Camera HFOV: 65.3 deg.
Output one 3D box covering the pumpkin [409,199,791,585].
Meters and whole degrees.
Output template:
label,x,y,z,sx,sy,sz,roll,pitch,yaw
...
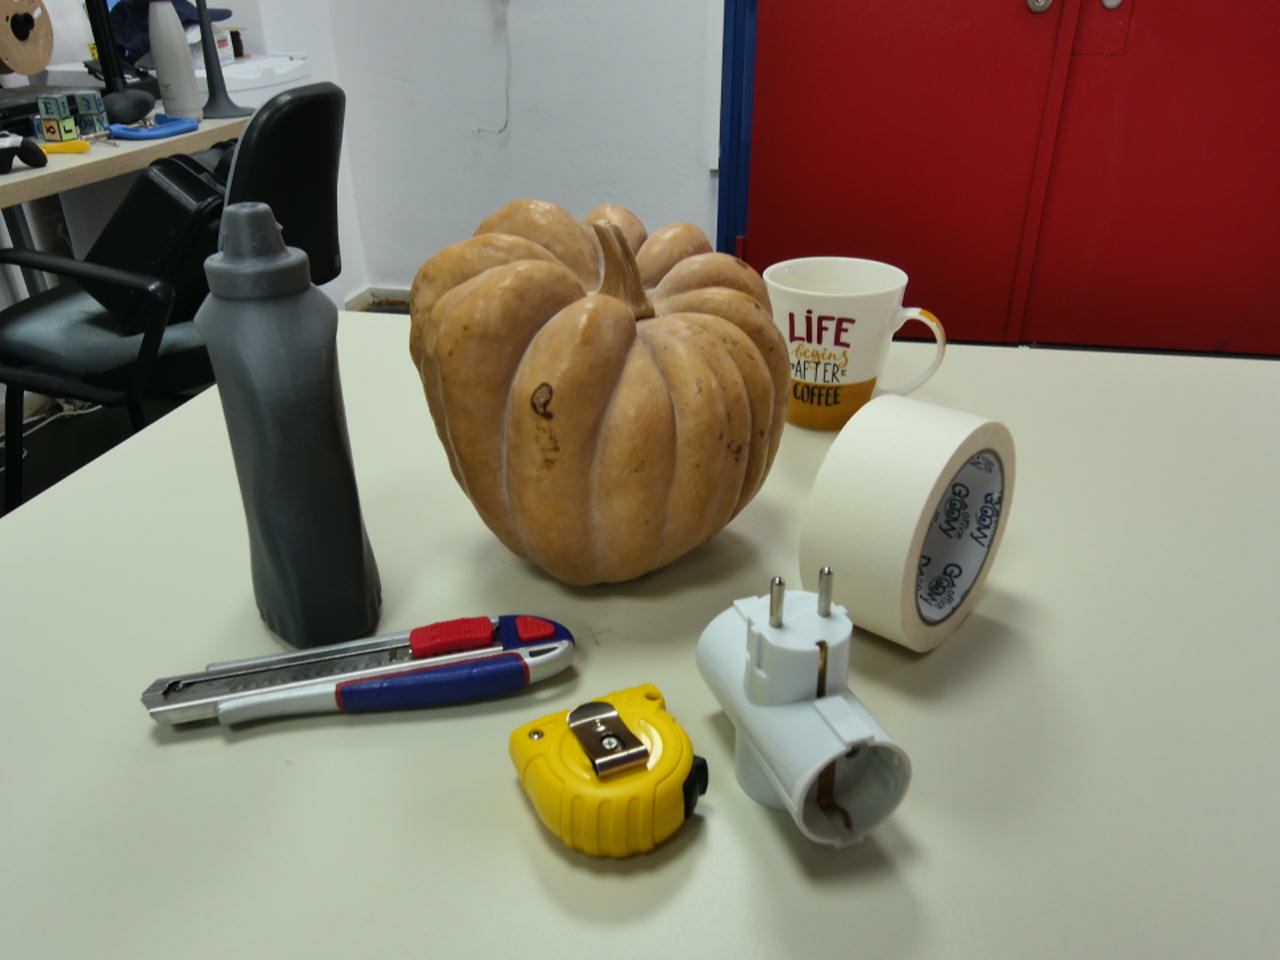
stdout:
label,x,y,z,sx,sy,sz,roll,pitch,yaw
pumpkin,-0.020,-0.046,0.505,0.199,0.177,0.198,0,26,0
